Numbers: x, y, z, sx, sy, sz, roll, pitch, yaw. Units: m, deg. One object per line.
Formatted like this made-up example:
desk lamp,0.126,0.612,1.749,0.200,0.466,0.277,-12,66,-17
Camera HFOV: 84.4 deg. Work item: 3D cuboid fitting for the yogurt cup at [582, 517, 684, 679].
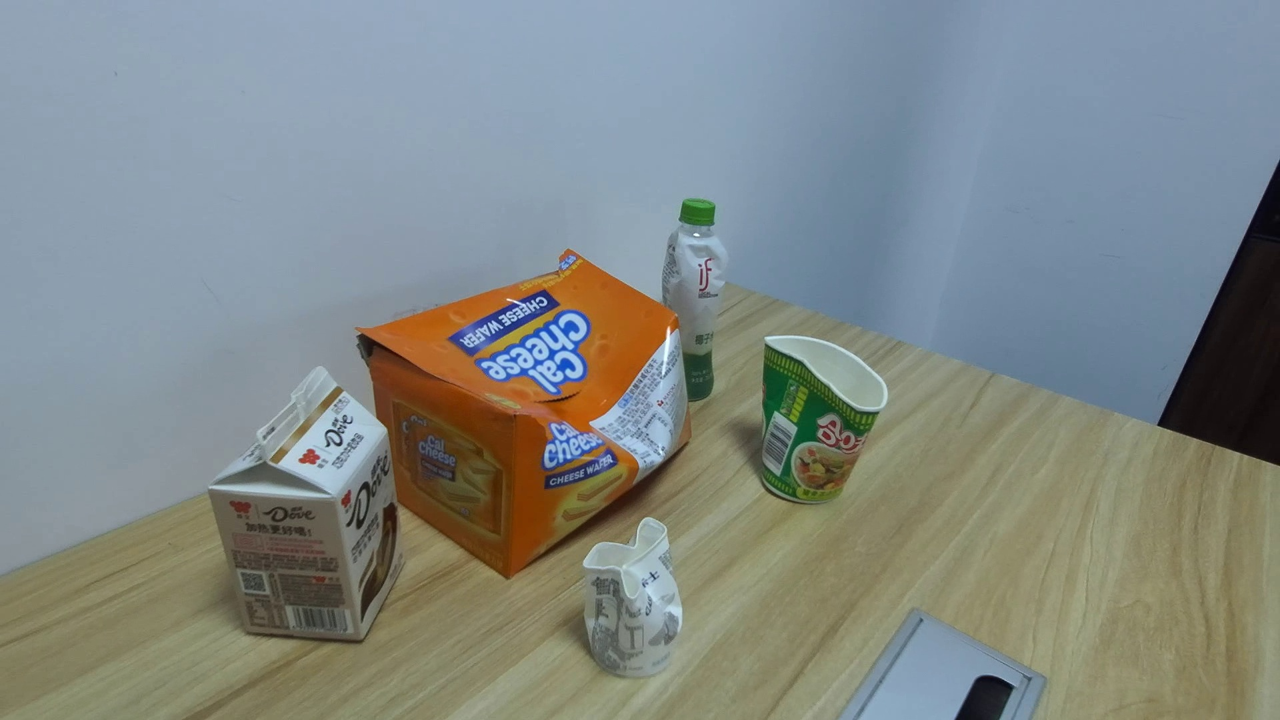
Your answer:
yogurt cup,-0.004,0.140,0.414,0.055,0.072,0.055,-22,34,-37

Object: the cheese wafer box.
cheese wafer box,-0.063,0.028,0.547,0.190,0.145,0.220,21,33,32

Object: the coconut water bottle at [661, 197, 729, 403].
coconut water bottle,0.048,-0.056,0.668,0.067,0.187,0.067,3,25,-1

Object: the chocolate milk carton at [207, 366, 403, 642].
chocolate milk carton,-0.192,0.083,0.416,0.074,0.148,0.075,4,26,1

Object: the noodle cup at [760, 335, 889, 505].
noodle cup,0.136,0.050,0.555,0.070,0.111,0.115,-2,29,-6
